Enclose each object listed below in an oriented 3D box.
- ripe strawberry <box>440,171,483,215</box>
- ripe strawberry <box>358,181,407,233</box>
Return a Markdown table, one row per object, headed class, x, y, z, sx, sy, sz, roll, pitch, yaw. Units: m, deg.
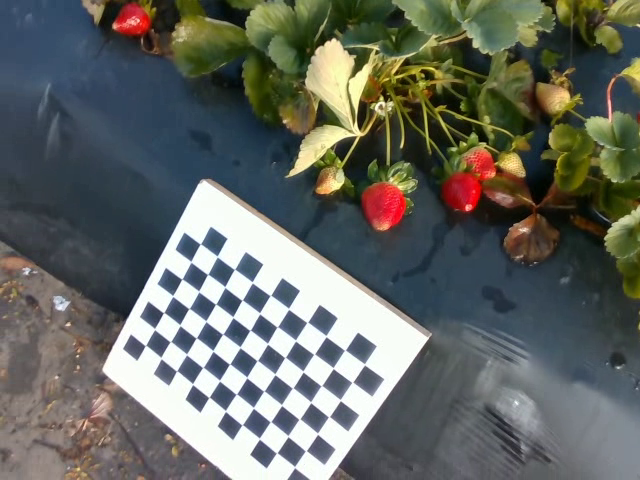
| class | x | y | z | sx | sy | sz | roll | pitch | yaw |
| --- | --- | --- | --- | --- | --- | --- | --- | --- | --- |
| ripe strawberry | 0.148 | -0.046 | 0.604 | 0.044 | 0.055 | 0.042 | -31 | -55 | 21 |
| ripe strawberry | 0.064 | -0.032 | 0.593 | 0.050 | 0.050 | 0.065 | -6 | 39 | 22 |
